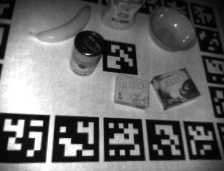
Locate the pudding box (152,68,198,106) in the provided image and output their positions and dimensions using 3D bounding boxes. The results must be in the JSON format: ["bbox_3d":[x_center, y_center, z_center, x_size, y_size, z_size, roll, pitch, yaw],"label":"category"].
[{"bbox_3d":[0.180,-0.002,0.610,0.115,0.038,0.090,-18,80,-24],"label":"pudding box"}]

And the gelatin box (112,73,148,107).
[{"bbox_3d":[0.048,0.012,0.565,0.090,0.030,0.073,13,67,-12],"label":"gelatin box"}]

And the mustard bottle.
[{"bbox_3d":[0.045,-0.241,0.570,0.097,0.191,0.058,6,63,-15],"label":"mustard bottle"}]

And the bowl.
[{"bbox_3d":[0.188,-0.176,0.682,0.163,0.055,0.161,7,65,-14],"label":"bowl"}]

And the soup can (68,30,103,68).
[{"bbox_3d":[-0.068,-0.094,0.521,0.068,0.101,0.067,8,63,-16],"label":"soup can"}]

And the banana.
[{"bbox_3d":[-0.119,-0.185,0.590,0.074,0.039,0.198,40,61,13],"label":"banana"}]
